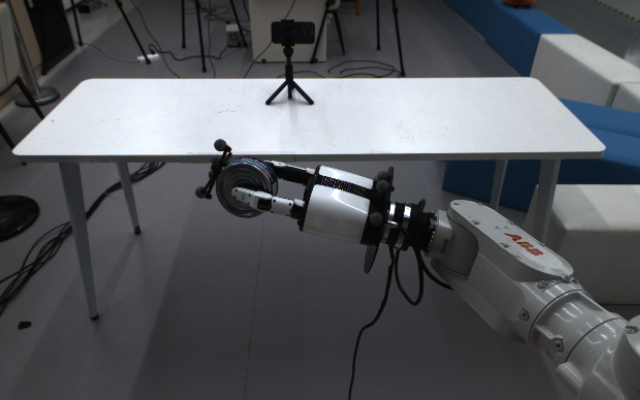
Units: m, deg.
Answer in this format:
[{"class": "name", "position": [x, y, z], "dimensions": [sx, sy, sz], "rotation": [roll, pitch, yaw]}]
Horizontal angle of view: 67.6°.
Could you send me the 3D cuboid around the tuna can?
[{"class": "tuna can", "position": [-0.104, -0.019, 0.700], "dimensions": [0.085, 0.085, 0.034], "rotation": [6, 20, 5]}]
